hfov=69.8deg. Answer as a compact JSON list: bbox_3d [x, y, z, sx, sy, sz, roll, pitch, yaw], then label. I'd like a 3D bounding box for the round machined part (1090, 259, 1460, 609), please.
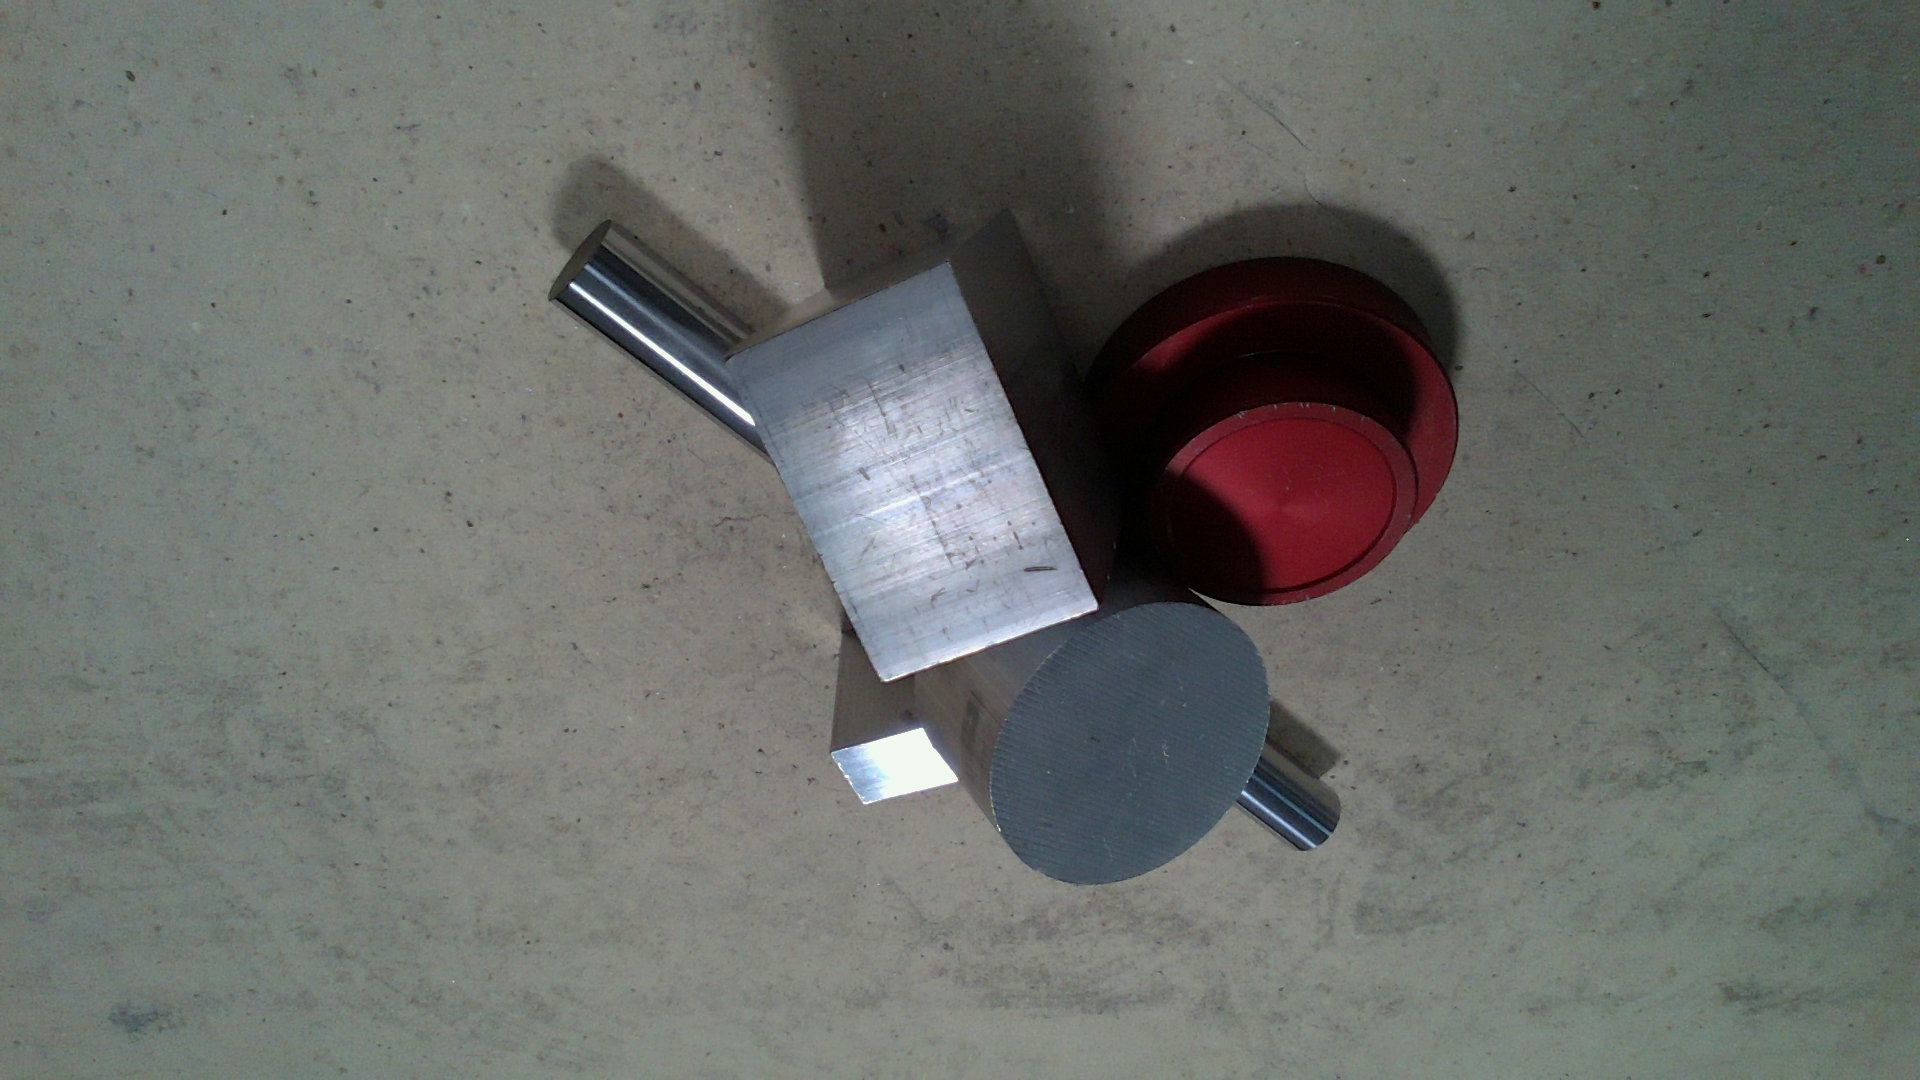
[{"bbox_3d":[0.082,-0.020,0.362,0.098,0.042,0.098,0,130,0],"label":"round machined part"}]

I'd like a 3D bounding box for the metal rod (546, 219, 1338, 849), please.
[{"bbox_3d":[0.013,0.013,0.403,0.025,0.025,0.301,-37,121,27],"label":"metal rod"}]

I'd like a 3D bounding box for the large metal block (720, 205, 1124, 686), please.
[{"bbox_3d":[-0.003,-0.025,0.319,0.050,0.080,0.080,-20,105,18],"label":"large metal block"}]

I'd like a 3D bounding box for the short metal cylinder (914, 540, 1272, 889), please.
[{"bbox_3d":[0.034,0.043,0.362,0.080,0.050,0.080,-9,115,-21],"label":"short metal cylinder"}]

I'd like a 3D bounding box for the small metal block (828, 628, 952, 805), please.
[{"bbox_3d":[-0.010,0.047,0.415,0.050,0.050,0.025,-17,127,13],"label":"small metal block"}]
